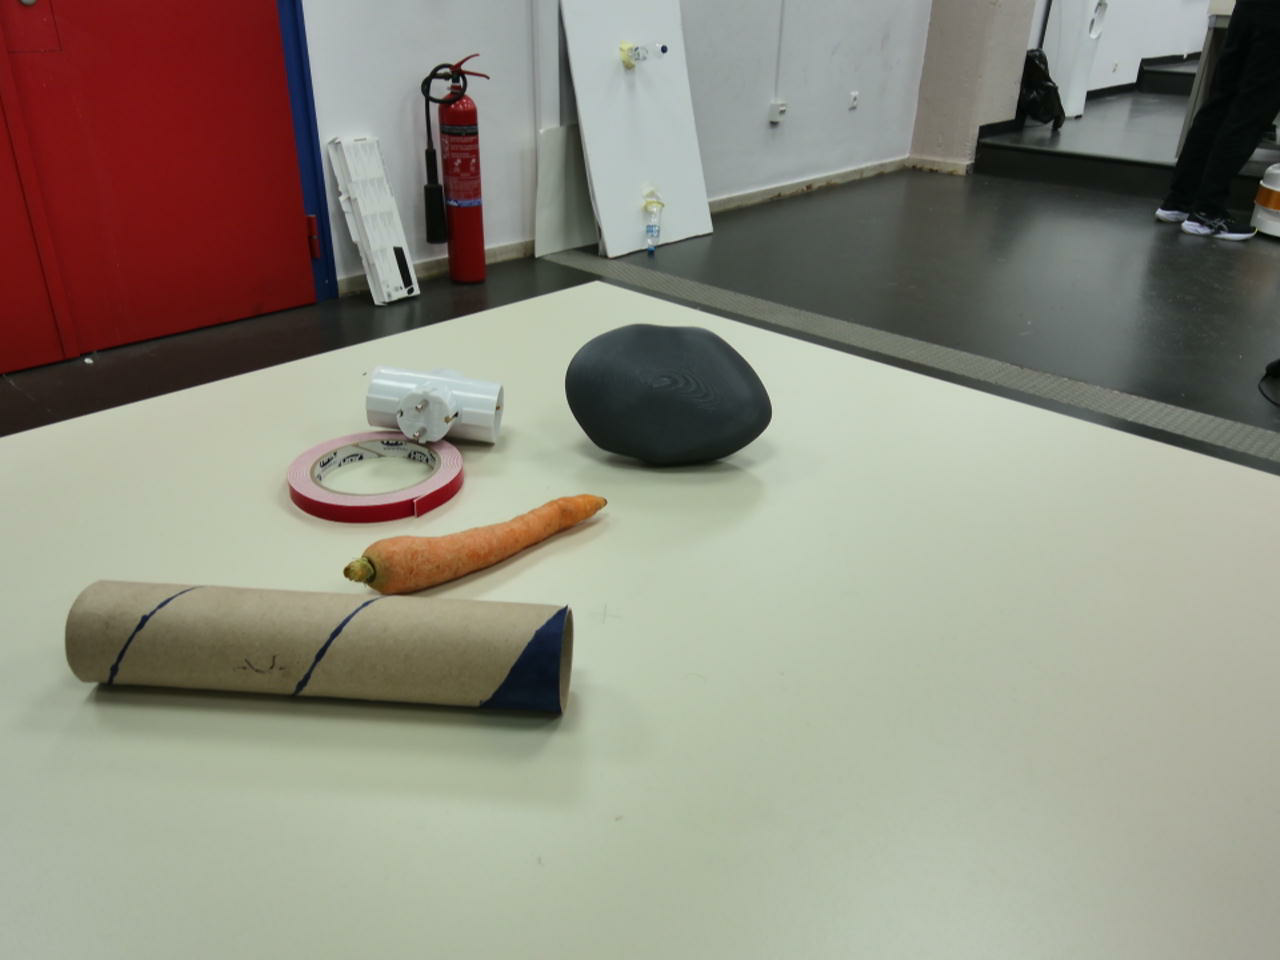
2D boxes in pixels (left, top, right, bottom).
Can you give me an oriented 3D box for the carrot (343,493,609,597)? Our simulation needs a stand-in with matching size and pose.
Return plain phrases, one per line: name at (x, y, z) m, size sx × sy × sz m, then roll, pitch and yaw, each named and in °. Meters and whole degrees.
carrot at (-0.085, 0.031, 0.562) m, size 0.173 × 0.032 × 0.030 m, roll -18°, pitch 31°, yaw -35°
